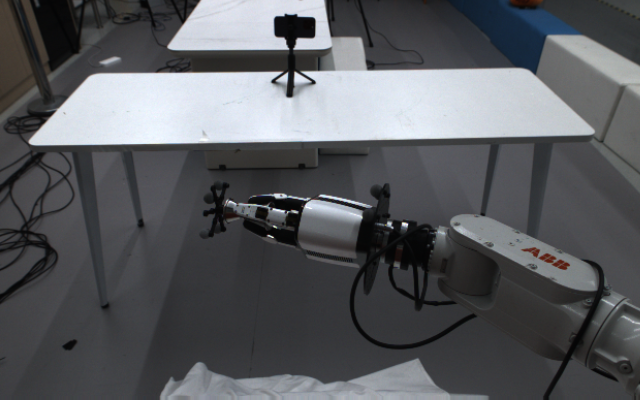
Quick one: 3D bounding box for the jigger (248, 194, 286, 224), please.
[{"bbox_3d":[-0.100,0.017,0.725,0.071,0.043,0.043,7,35,14],"label":"jigger"}]
